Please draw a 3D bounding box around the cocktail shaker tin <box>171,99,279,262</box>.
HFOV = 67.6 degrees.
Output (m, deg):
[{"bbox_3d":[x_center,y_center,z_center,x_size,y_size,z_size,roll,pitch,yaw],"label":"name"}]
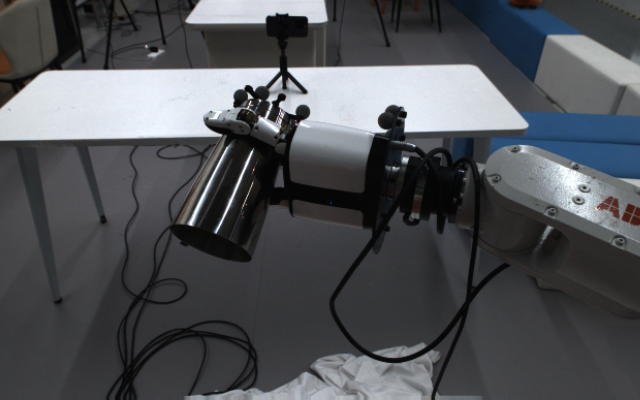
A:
[{"bbox_3d":[-0.087,-0.029,0.541,0.093,0.093,0.170,12,65,14],"label":"cocktail shaker tin"}]
